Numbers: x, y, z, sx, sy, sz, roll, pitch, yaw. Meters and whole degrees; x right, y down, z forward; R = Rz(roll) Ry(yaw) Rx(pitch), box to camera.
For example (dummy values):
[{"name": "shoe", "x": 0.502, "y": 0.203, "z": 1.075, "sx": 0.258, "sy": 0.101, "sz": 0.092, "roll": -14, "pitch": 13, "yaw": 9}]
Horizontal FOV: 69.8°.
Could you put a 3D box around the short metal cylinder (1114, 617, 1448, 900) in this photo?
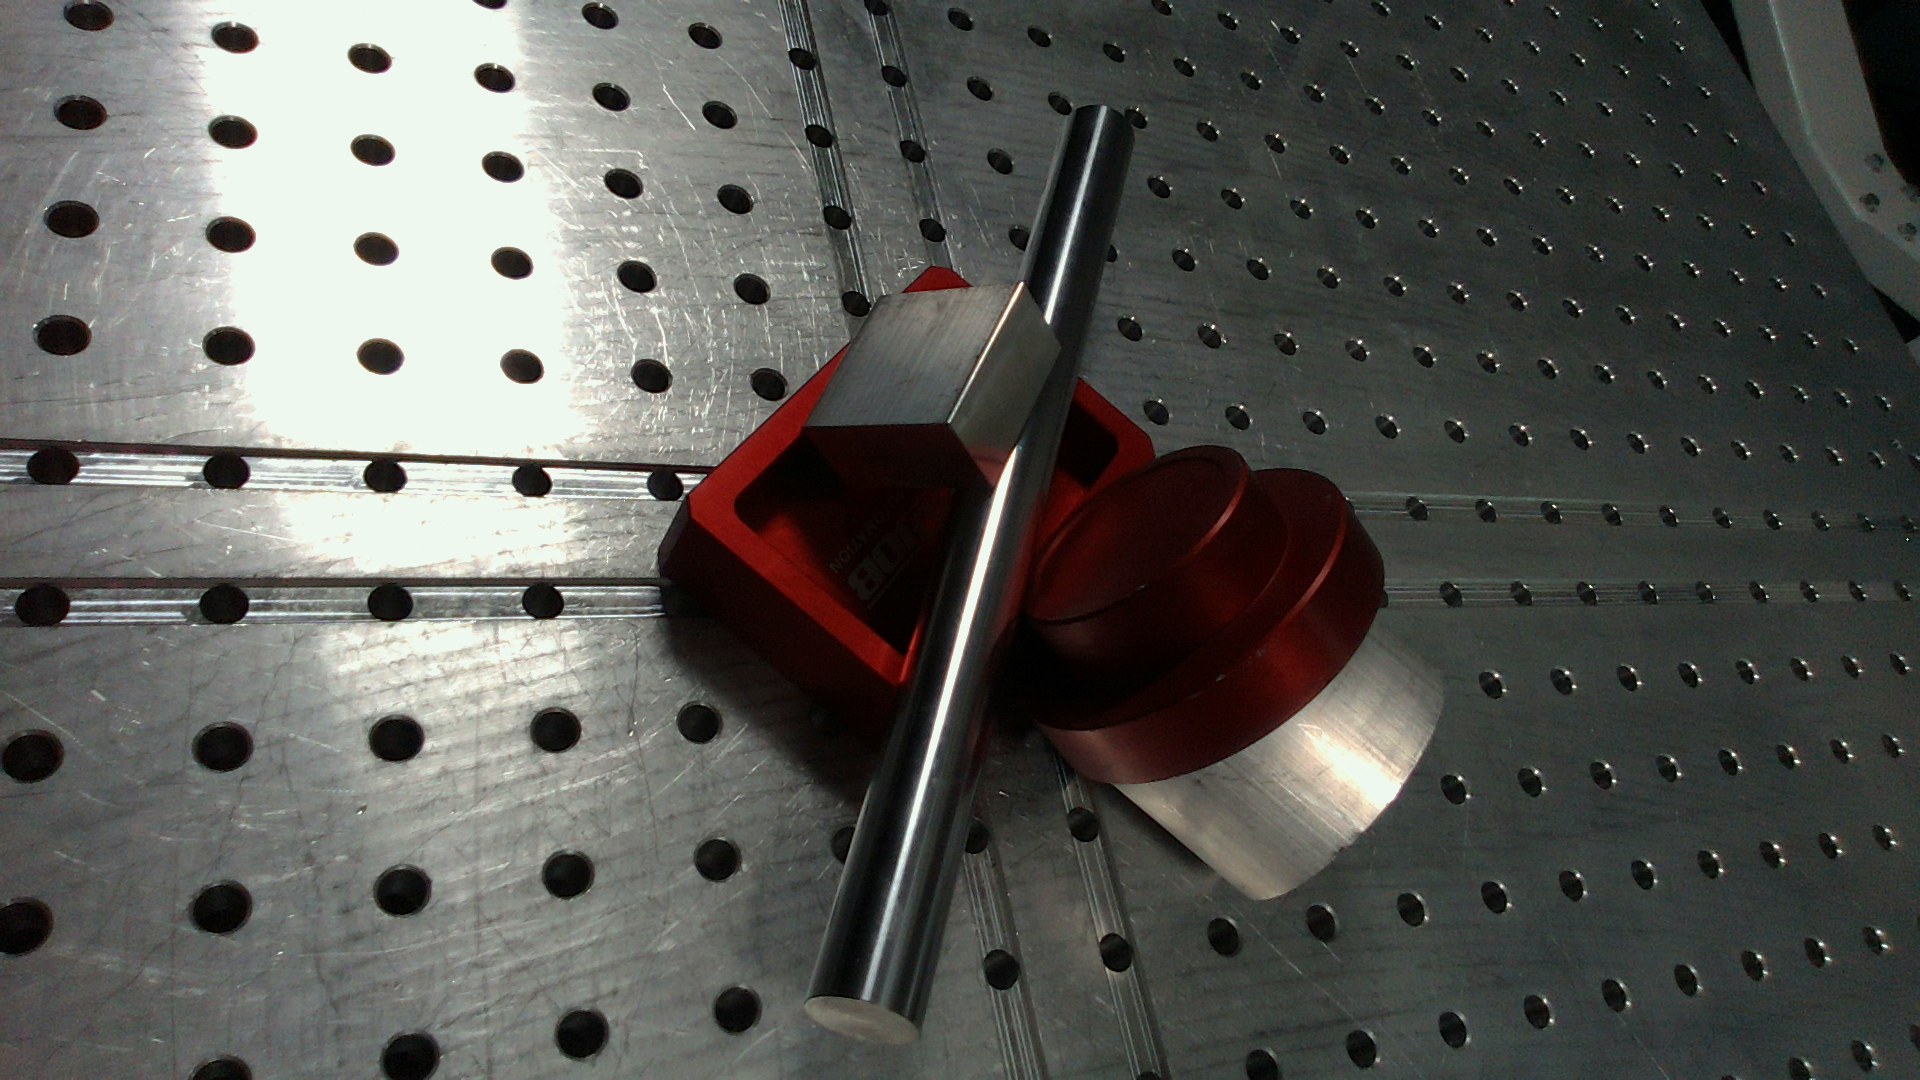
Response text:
[{"name": "short metal cylinder", "x": 0.083, "y": 0.049, "z": 0.371, "sx": 0.050, "sy": 0.080, "sz": 0.080, "roll": 40, "pitch": 51, "yaw": -1}]

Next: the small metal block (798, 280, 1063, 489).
[{"name": "small metal block", "x": -0.007, "y": -0.041, "z": 0.370, "sx": 0.025, "sy": 0.050, "sz": 0.050, "roll": 54, "pitch": 51, "yaw": -40}]

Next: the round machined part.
[{"name": "round machined part", "x": 0.055, "y": 0.012, "z": 0.355, "sx": 0.042, "sy": 0.098, "sz": 0.098, "roll": 52, "pitch": 48, "yaw": -20}]

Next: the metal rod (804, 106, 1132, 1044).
[{"name": "metal rod", "x": 0.013, "y": -0.018, "z": 0.371, "sx": 0.025, "sy": 0.025, "sz": 0.300, "roll": 25, "pitch": 53, "yaw": -13}]

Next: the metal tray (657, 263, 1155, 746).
[{"name": "metal tray", "x": -0.010, "y": -0.012, "z": 0.390, "sx": 0.090, "sy": 0.030, "sz": 0.130, "roll": 40, "pitch": 51, "yaw": -1}]
